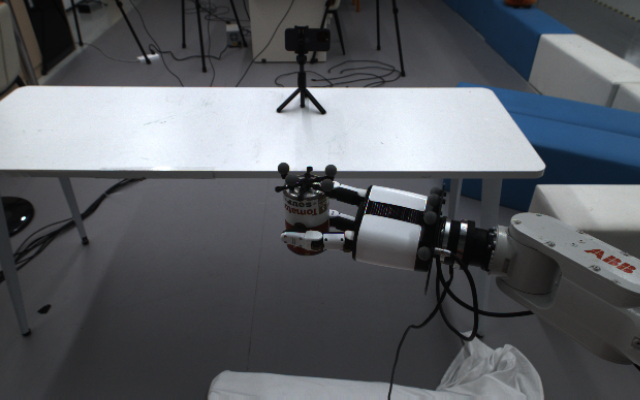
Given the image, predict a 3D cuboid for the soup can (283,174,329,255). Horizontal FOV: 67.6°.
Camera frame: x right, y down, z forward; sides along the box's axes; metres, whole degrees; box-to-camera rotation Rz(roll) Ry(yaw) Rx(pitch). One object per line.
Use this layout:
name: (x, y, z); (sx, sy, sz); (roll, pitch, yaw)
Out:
soup can: (-0.018, 0.021, 0.714); (0.067, 0.101, 0.067); (-2, 34, 1)
